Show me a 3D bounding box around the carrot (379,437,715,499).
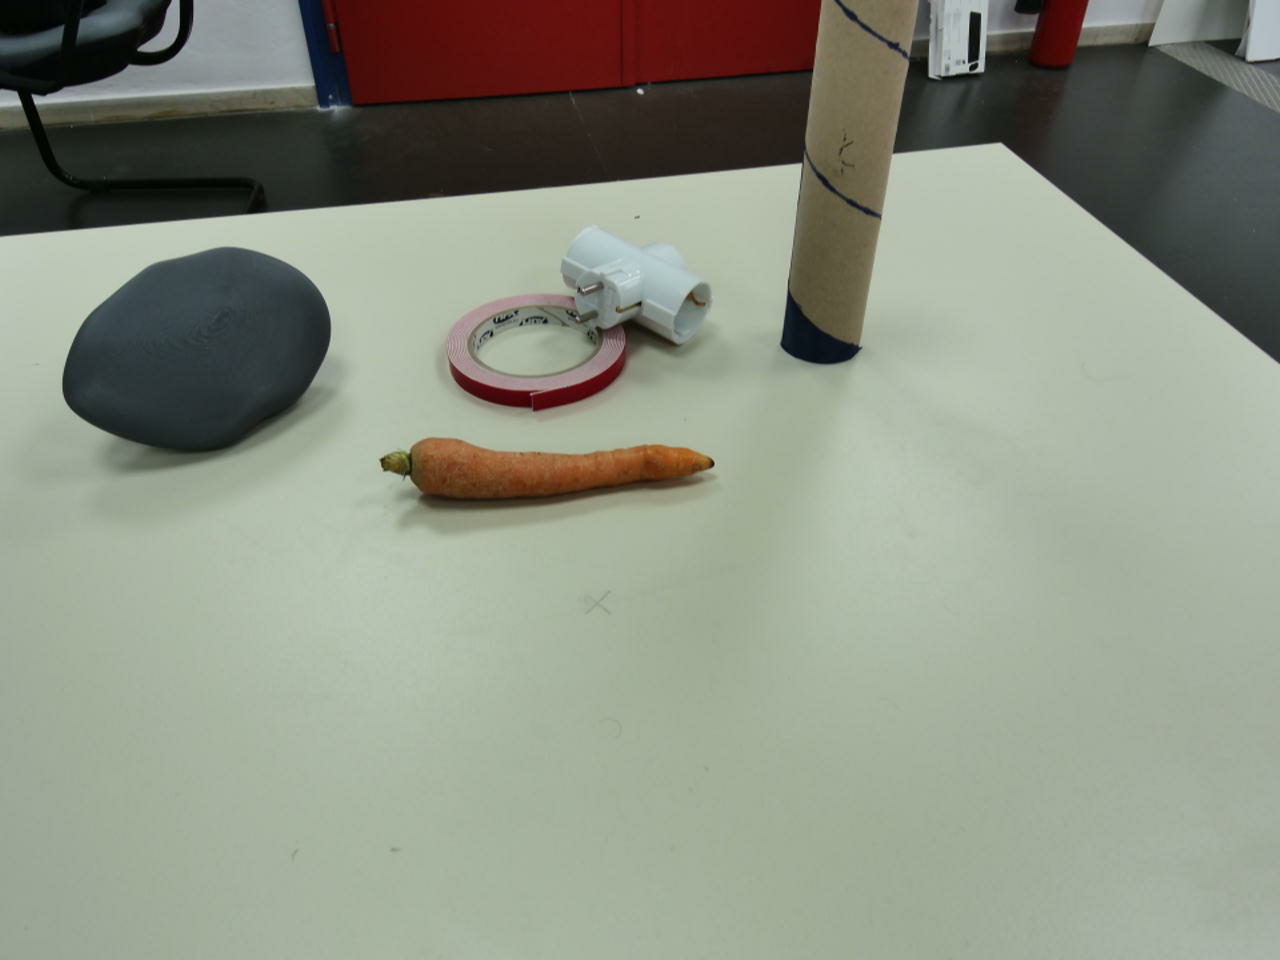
[{"bbox_3d":[-0.046,-0.008,0.517,0.173,0.032,0.030,-2,39,-3],"label":"carrot"}]
